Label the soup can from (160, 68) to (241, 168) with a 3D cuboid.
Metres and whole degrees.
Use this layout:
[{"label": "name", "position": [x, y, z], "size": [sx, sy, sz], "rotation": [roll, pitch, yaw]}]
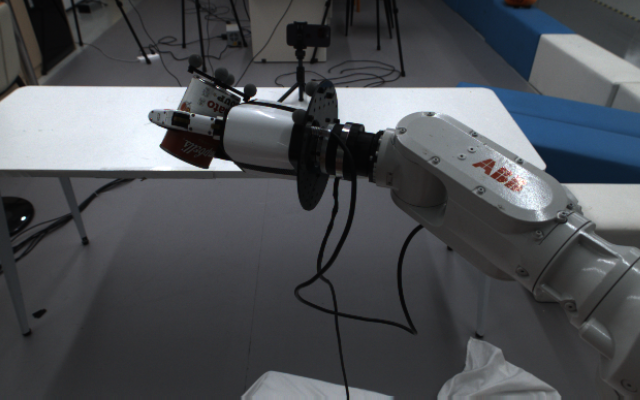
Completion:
[{"label": "soup can", "position": [-0.153, -0.099, 0.620], "size": [0.067, 0.101, 0.067], "rotation": [27, 6, -3]}]
